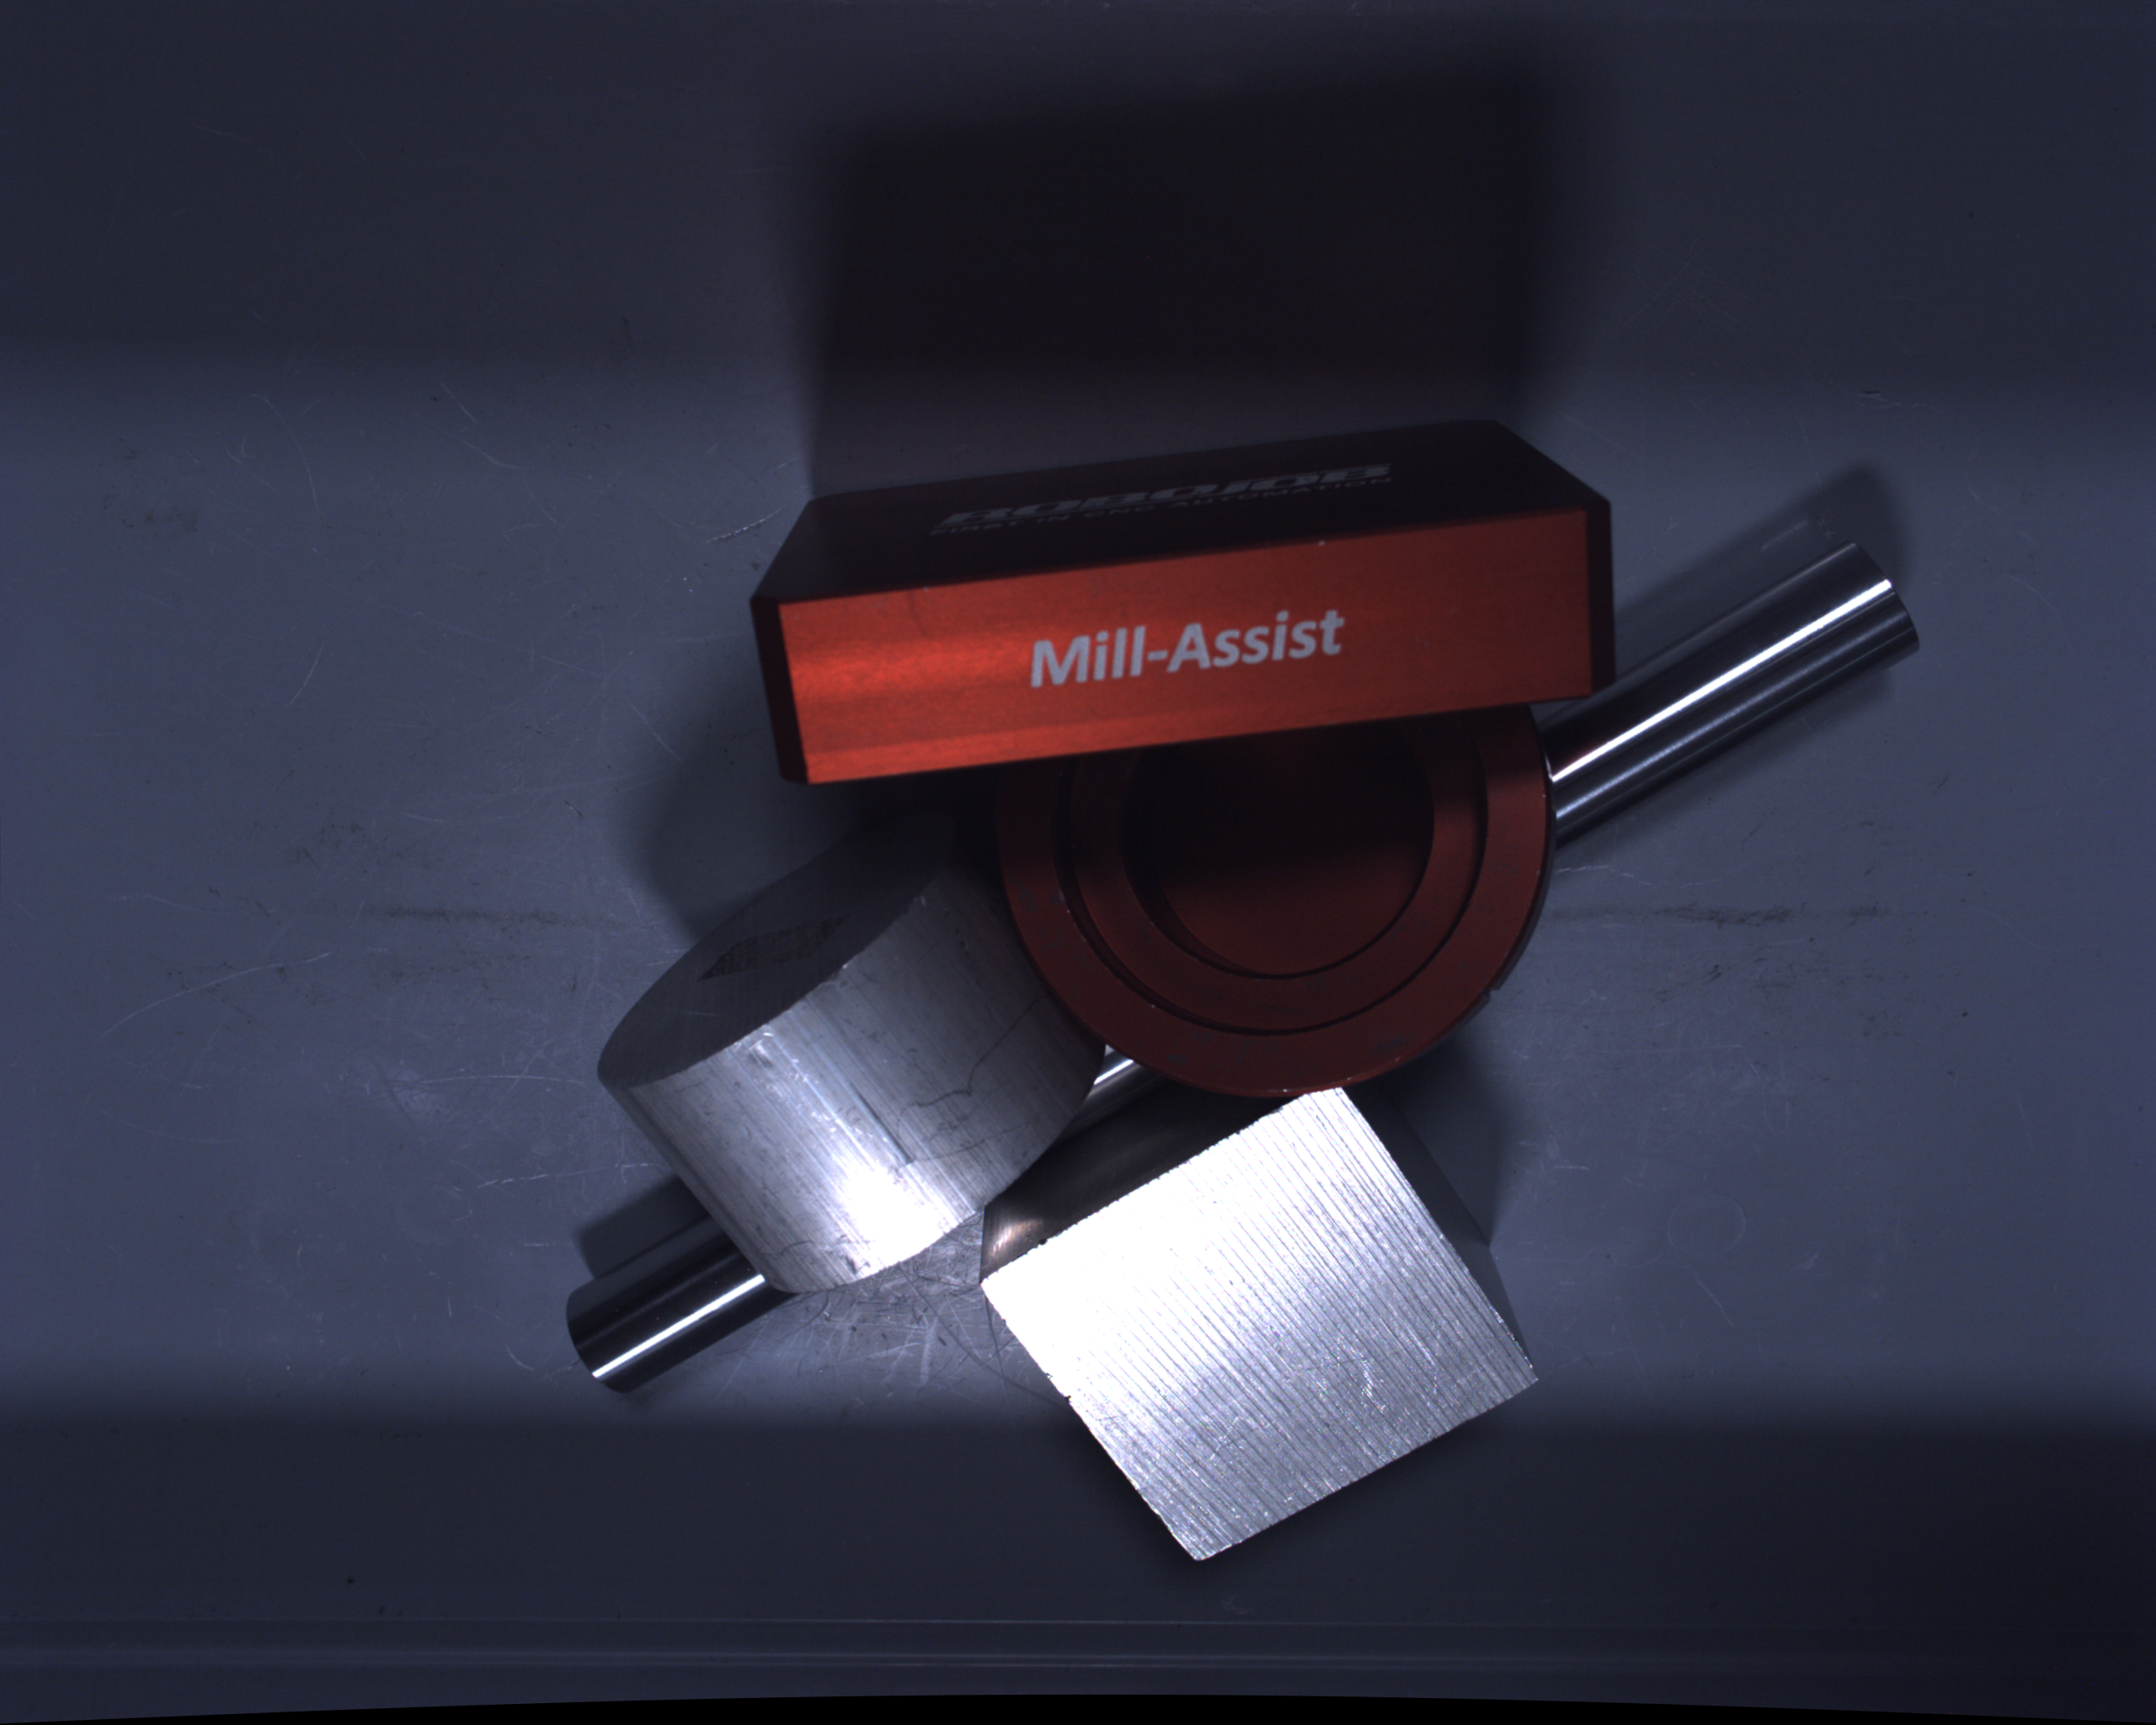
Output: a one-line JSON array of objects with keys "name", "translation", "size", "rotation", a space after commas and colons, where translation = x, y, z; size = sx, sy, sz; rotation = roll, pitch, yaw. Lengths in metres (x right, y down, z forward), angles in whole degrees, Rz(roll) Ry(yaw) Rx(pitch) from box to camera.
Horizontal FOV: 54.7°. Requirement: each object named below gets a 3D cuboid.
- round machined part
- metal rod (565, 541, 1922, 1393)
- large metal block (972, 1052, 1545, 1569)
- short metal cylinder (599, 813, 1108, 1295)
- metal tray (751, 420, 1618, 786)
[{"name": "round machined part", "translation": [0.038, -0.006, 0.384], "size": [0.098, 0.042, 0.097], "rotation": [-1, 85, 14]}, {"name": "metal rod", "translation": [0.025, 0.026, 0.420], "size": [0.300, 0.025, 0.025], "rotation": [-31, 108, 10]}, {"name": "large metal block", "translation": [0.035, 0.082, 0.426], "size": [0.080, 0.050, 0.080], "rotation": [-31, 108, 10]}, {"name": "short metal cylinder", "translation": [-0.042, 0.035, 0.393], "size": [0.080, 0.080, 0.050], "rotation": [-32, 107, 10]}, {"name": "metal tray", "translation": [0.017, -0.047, 0.357], "size": [0.131, 0.090, 0.030], "rotation": [-6, 110, 1]}]
